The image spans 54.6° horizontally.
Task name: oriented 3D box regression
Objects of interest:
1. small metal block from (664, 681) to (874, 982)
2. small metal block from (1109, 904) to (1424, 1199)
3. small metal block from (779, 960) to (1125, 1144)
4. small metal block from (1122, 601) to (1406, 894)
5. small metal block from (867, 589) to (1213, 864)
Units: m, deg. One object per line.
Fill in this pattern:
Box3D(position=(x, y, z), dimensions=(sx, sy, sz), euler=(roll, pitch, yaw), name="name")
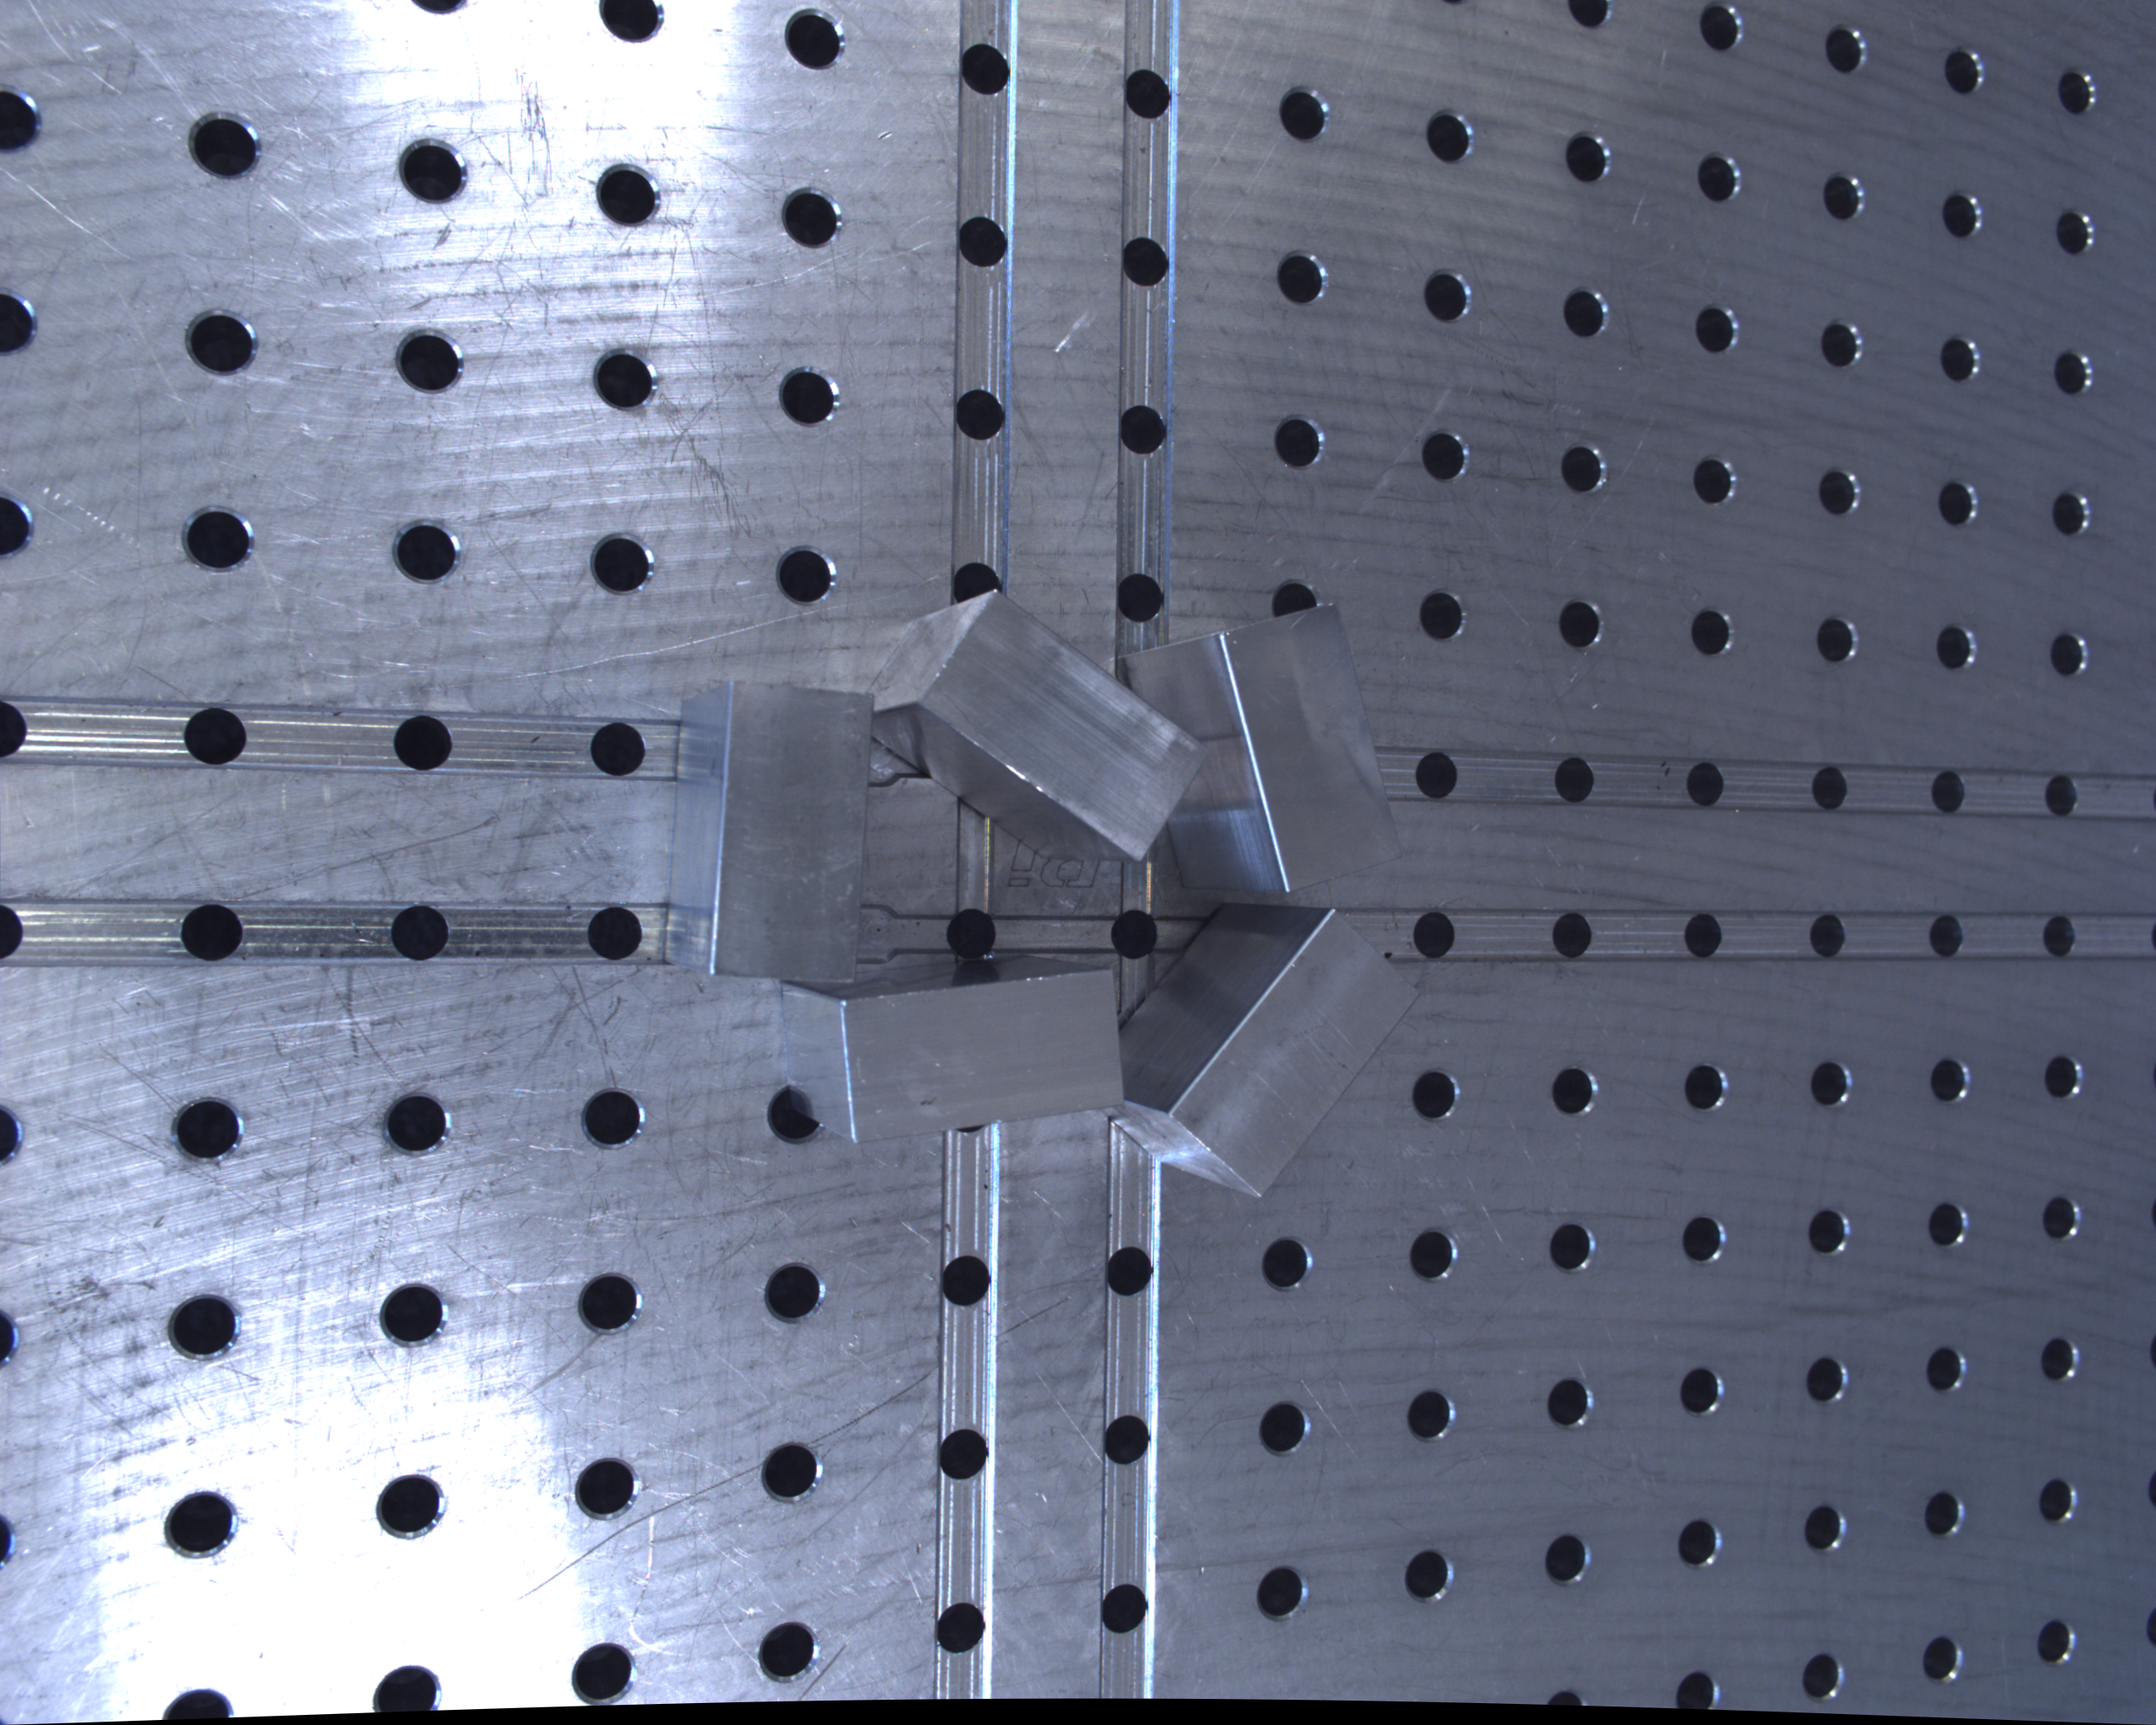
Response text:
Box3D(position=(-0.057, -0.005, 0.378), dimensions=(0.025, 0.050, 0.050), euler=(4, 89, -20), name="small metal block")
Box3D(position=(0.033, 0.035, 0.410), dimensions=(0.025, 0.050, 0.050), euler=(44, 76, -14), name="small metal block")
Box3D(position=(-0.025, 0.034, 0.390), dimensions=(0.050, 0.050, 0.025), euler=(-5, 92, -20), name="small metal block")
Box3D(position=(0.035, -0.021, 0.411), dimensions=(0.025, 0.050, 0.050), euler=(-17, 95, -19), name="small metal block")
Box3D(position=(-0.010, -0.024, 0.395), dimensions=(0.050, 0.050, 0.025), euler=(35, 80, -17), name="small metal block")
